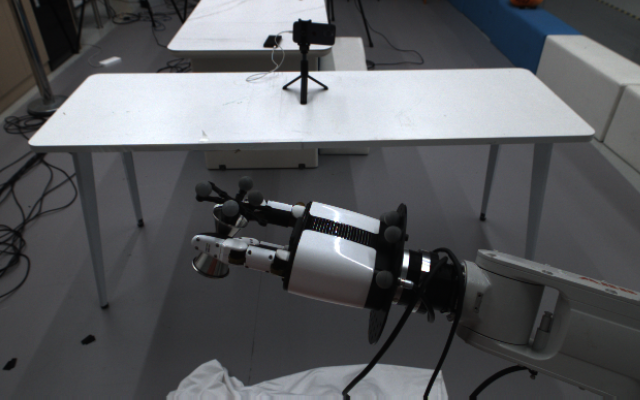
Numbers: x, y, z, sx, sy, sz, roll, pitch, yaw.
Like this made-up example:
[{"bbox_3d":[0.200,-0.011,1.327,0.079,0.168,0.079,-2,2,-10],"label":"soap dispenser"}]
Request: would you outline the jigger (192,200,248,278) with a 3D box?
[{"bbox_3d":[-0.111,0.048,0.540,0.043,0.071,0.043,23,19,-8],"label":"jigger"}]
